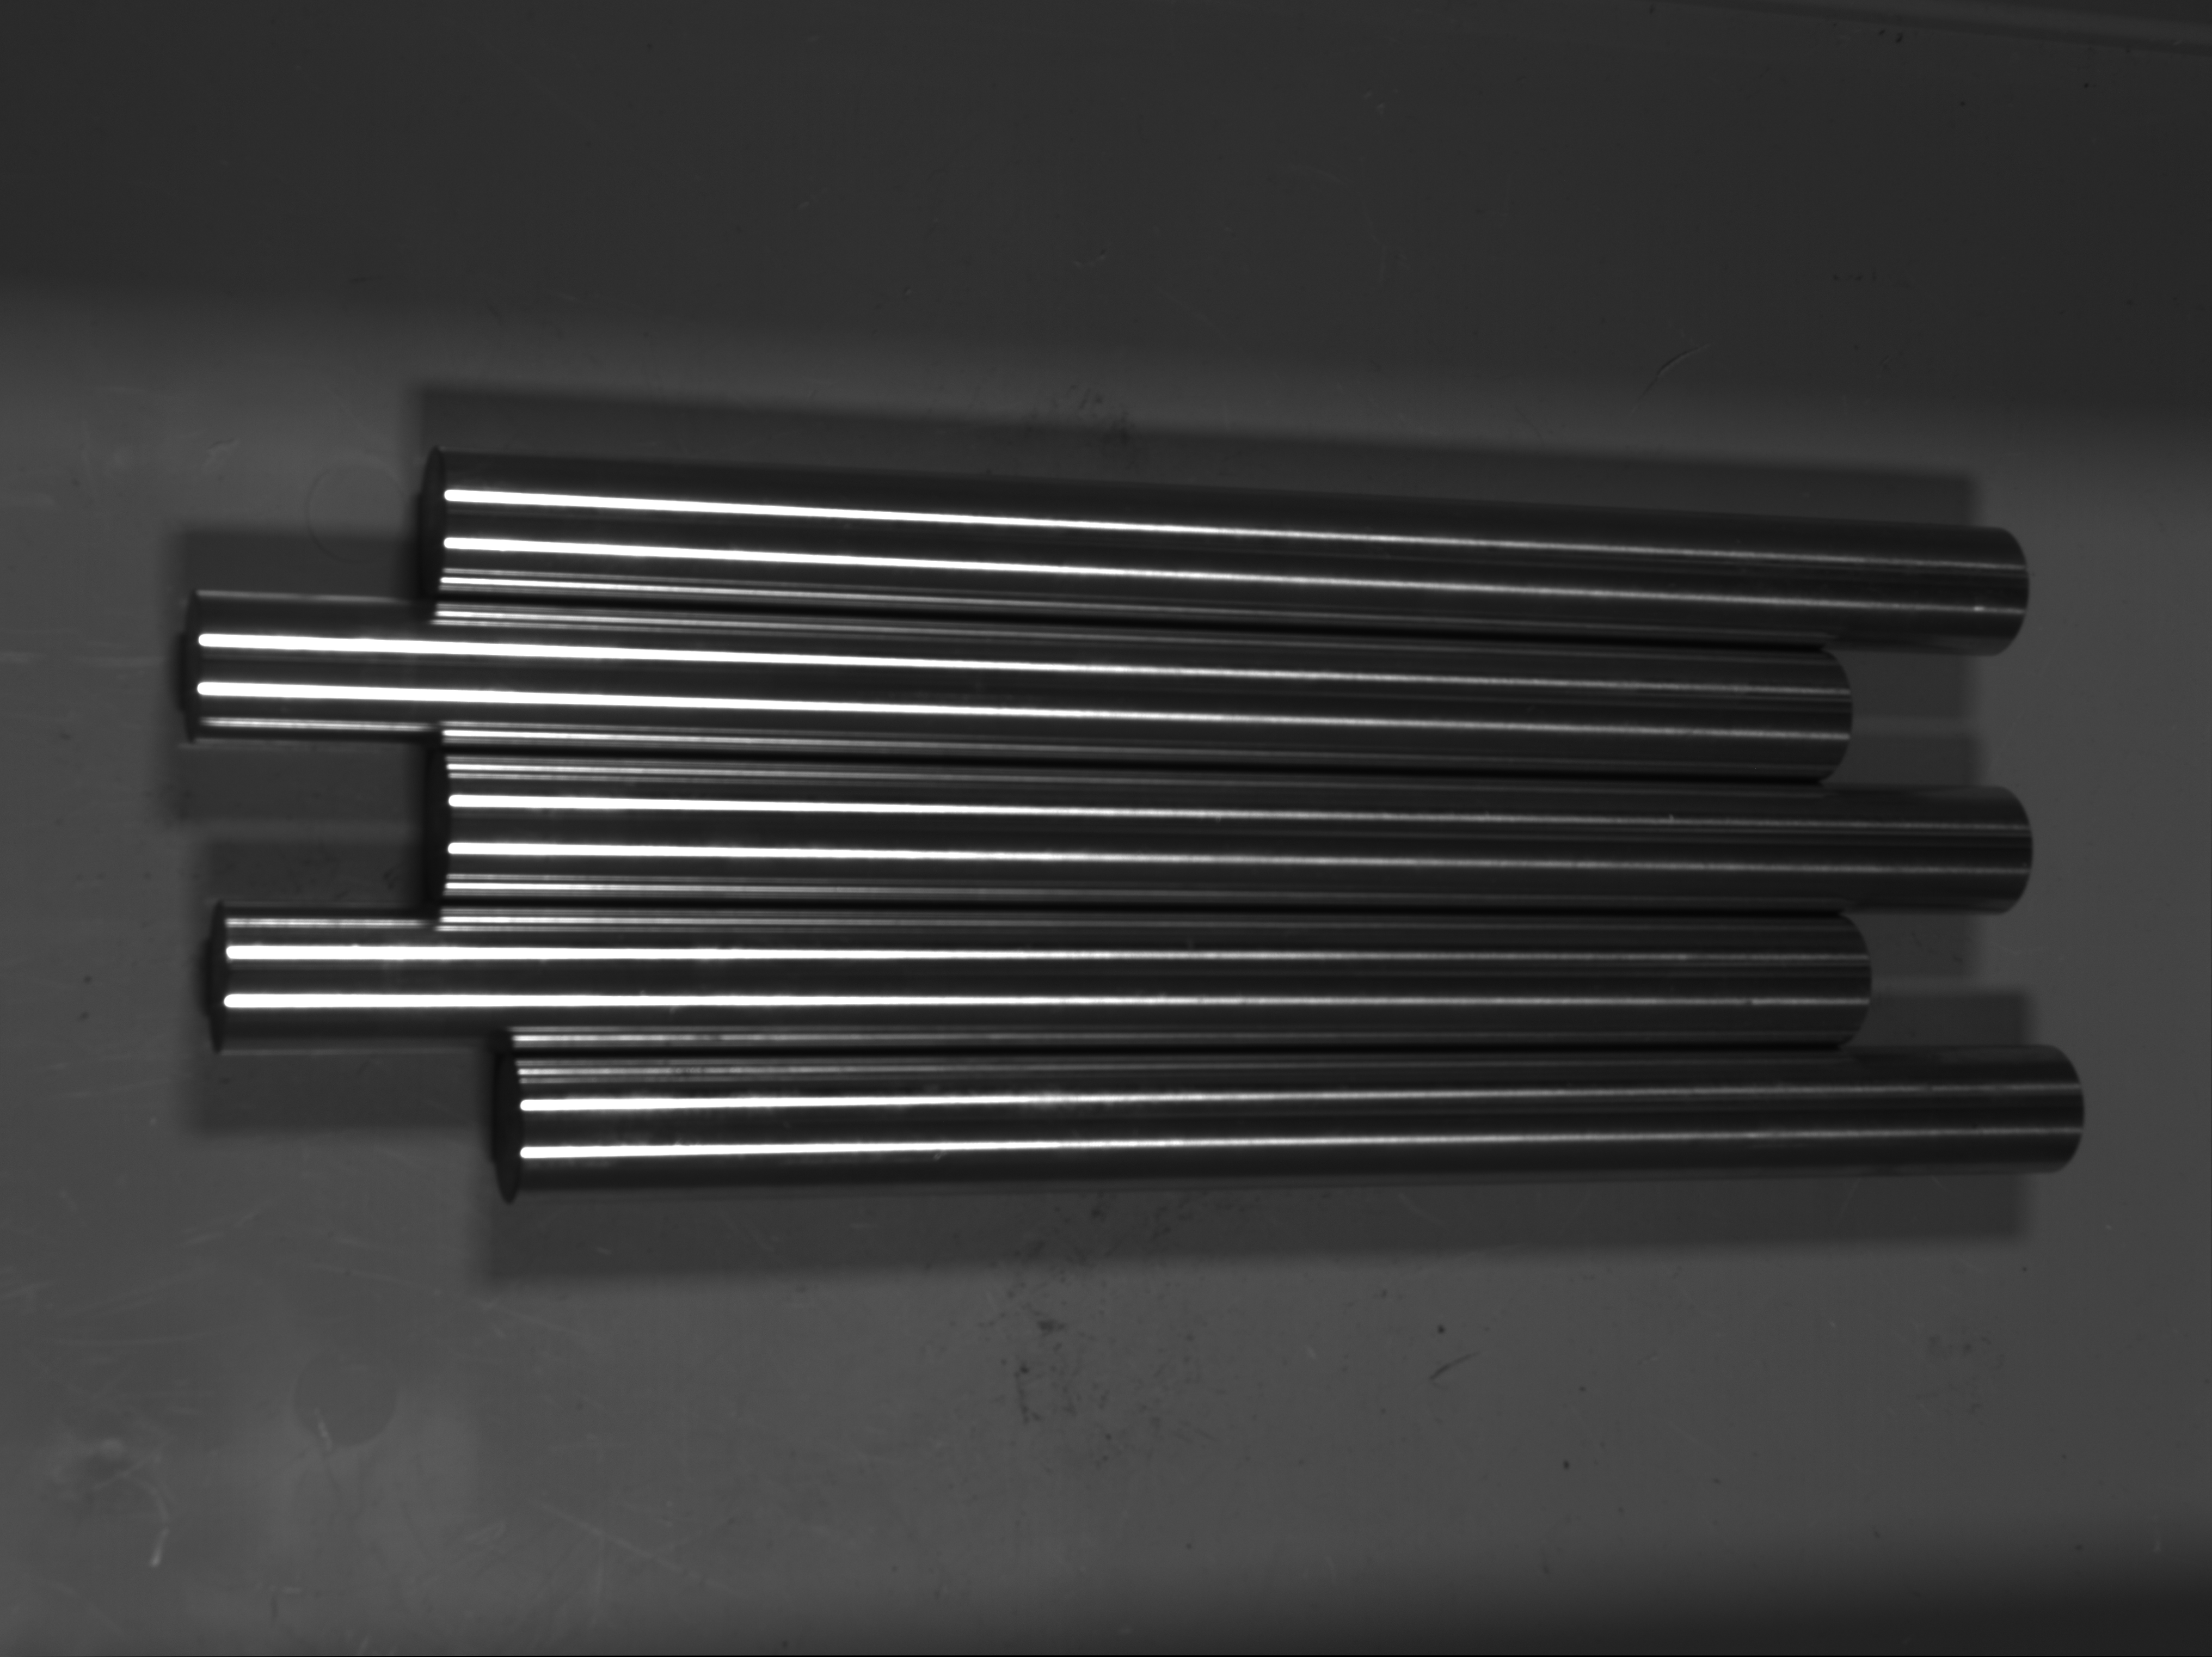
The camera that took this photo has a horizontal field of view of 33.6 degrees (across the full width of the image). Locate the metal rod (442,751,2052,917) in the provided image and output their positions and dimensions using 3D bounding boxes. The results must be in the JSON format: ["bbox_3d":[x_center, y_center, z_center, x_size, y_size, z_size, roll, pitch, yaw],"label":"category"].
[{"bbox_3d":[0.034,0.002,0.655,0.301,0.025,0.025,1,90,-20],"label":"metal rod"}]

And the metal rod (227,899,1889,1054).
[{"bbox_3d":[0.000,0.026,0.642,0.301,0.025,0.025,1,90,-20],"label":"metal rod"}]

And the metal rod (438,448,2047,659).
[{"bbox_3d":[0.033,-0.048,0.654,0.301,0.025,0.025,1,90,-20],"label":"metal rod"}]

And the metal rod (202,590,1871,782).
[{"bbox_3d":[-0.003,-0.024,0.641,0.301,0.025,0.025,1,90,-20],"label":"metal rod"}]

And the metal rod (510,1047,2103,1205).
[{"bbox_3d":[0.045,0.052,0.658,0.301,0.025,0.025,1,90,-20],"label":"metal rod"}]
